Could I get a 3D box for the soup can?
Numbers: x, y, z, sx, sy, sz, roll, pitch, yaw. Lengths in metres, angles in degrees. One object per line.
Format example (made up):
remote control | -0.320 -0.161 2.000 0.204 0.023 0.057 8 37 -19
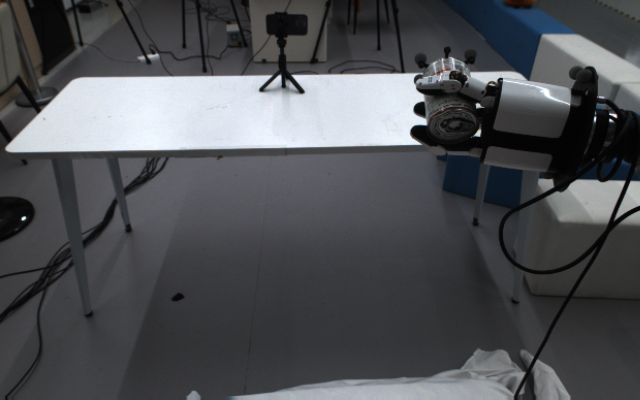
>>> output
soup can | 0.178 -0.138 0.662 0.067 0.067 0.101 3 57 1
